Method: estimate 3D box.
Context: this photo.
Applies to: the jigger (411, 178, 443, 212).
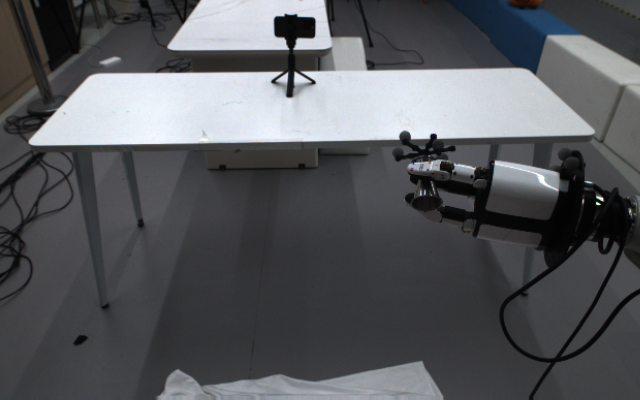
[{"bbox_3d":[0.149,-0.027,0.684,0.043,0.043,0.071,4,61,2],"label":"jigger"}]
